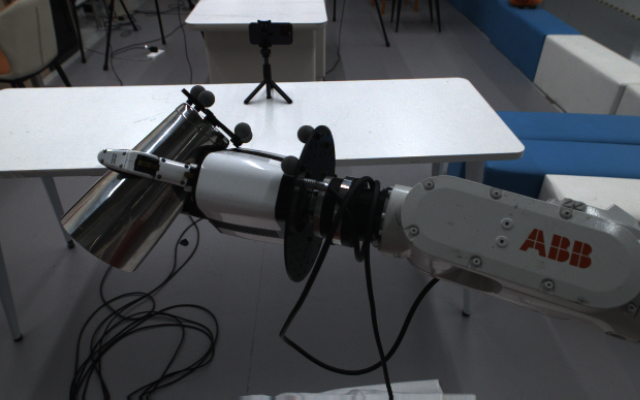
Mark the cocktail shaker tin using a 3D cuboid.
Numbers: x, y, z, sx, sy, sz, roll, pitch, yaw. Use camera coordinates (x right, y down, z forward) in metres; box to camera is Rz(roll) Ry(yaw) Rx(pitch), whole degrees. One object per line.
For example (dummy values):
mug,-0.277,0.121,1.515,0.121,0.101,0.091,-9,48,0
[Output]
cocktail shaker tin,-0.175,-0.020,0.518,0.170,0.093,0.093,-48,49,-3
